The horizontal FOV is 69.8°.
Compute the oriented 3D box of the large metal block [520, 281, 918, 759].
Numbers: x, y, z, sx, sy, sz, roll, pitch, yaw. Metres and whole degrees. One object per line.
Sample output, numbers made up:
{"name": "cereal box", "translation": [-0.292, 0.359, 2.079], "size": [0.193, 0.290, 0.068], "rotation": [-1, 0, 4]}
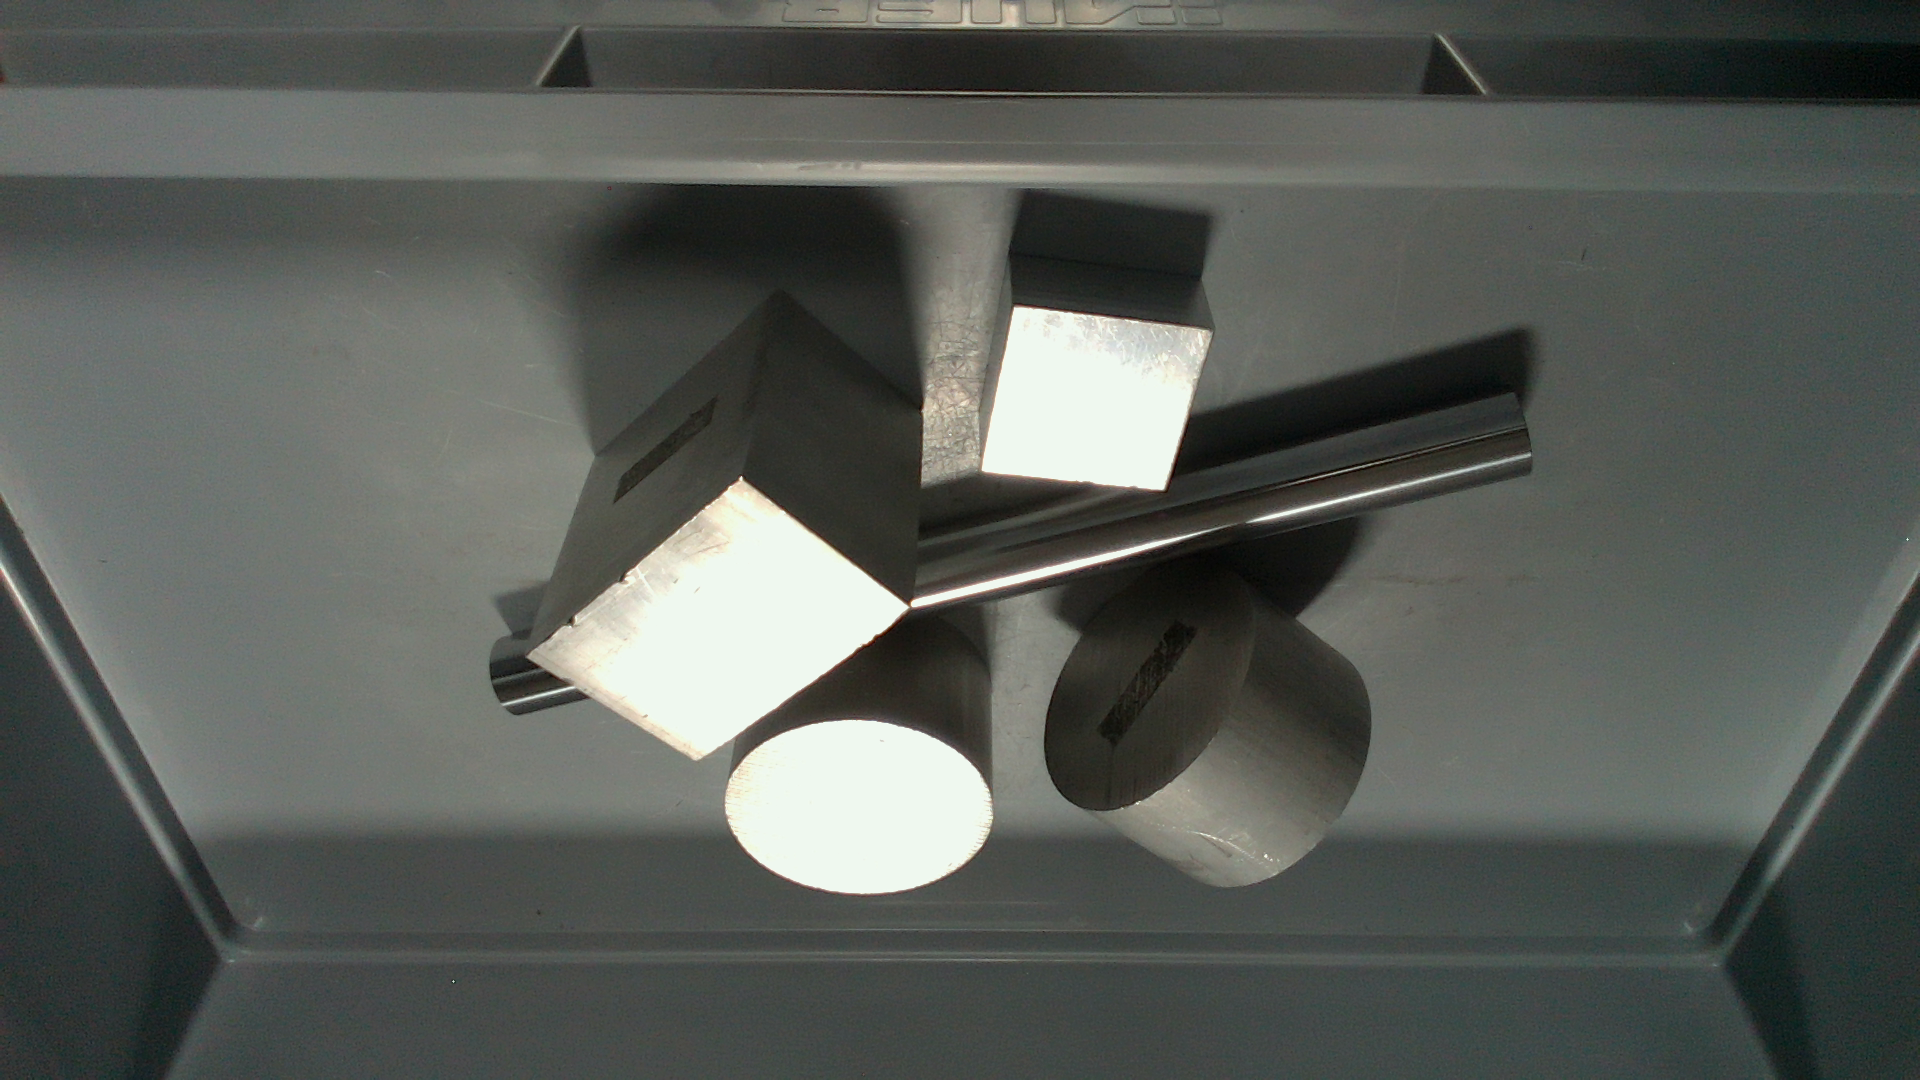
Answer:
{"name": "large metal block", "translation": [-0.058, -0.005, 0.349], "size": [0.080, 0.080, 0.050], "rotation": [-36, 121, 26]}

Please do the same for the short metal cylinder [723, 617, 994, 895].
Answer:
{"name": "short metal cylinder", "translation": [-0.030, 0.065, 0.427], "size": [0.080, 0.050, 0.080], "rotation": [0, 130, 0]}

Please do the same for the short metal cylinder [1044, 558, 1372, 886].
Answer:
{"name": "short metal cylinder", "translation": [0.070, 0.052, 0.398], "size": [0.050, 0.080, 0.080], "rotation": [35, 122, -26]}

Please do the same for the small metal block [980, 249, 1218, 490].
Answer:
{"name": "small metal block", "translation": [0.034, -0.043, 0.353], "size": [0.050, 0.025, 0.050], "rotation": [6, 130, -6]}

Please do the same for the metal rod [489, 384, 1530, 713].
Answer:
{"name": "metal rod", "translation": [0.005, 0.006, 0.394], "size": [0.299, 0.025, 0.025], "rotation": [-14, 129, 11]}
